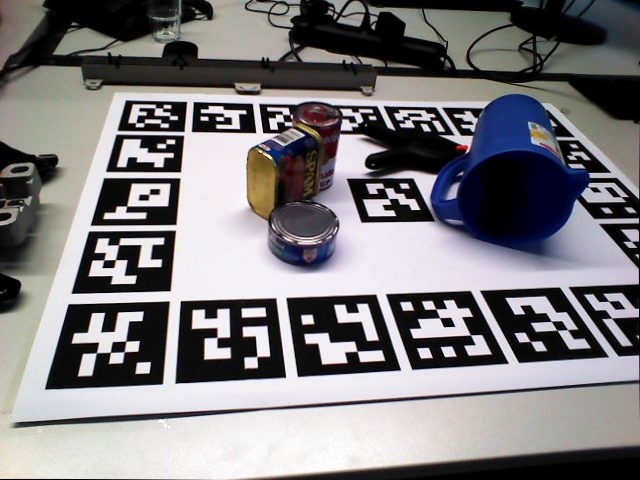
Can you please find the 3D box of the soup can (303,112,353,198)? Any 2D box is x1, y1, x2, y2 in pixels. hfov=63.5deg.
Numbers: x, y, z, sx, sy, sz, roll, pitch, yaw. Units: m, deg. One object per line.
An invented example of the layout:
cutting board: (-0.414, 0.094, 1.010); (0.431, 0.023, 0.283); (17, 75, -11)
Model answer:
soup can: (0.007, -0.116, 0.721); (0.068, 0.102, 0.067); (2, 44, -2)

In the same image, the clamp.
clamp: (0.150, -0.126, 0.816); (0.165, 0.037, 0.121); (3, 37, -10)

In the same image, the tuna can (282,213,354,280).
tuna can: (-0.004, 0.007, 0.629); (0.086, 0.034, 0.085); (4, 43, -4)

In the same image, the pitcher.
pitcher: (0.282, -0.101, 0.712); (0.190, 0.133, 0.241); (-5, 30, 20)

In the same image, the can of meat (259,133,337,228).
can of meat: (-0.030, -0.073, 0.661); (0.083, 0.102, 0.058); (-32, 55, -31)
